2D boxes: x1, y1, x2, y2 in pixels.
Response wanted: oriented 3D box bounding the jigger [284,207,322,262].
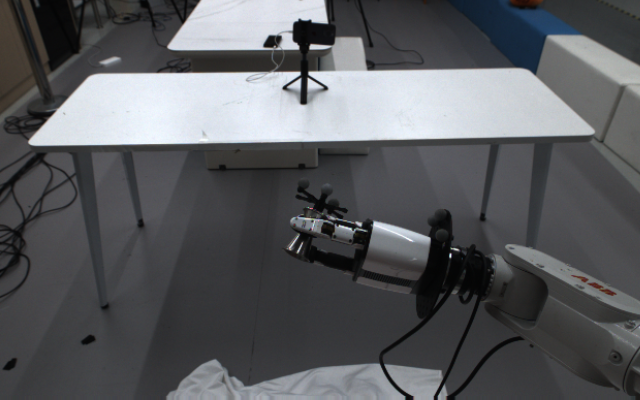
[{"bbox_3d":[-0.021,0.047,0.688,0.043,0.043,0.071,20,72,23],"label":"jigger"}]
